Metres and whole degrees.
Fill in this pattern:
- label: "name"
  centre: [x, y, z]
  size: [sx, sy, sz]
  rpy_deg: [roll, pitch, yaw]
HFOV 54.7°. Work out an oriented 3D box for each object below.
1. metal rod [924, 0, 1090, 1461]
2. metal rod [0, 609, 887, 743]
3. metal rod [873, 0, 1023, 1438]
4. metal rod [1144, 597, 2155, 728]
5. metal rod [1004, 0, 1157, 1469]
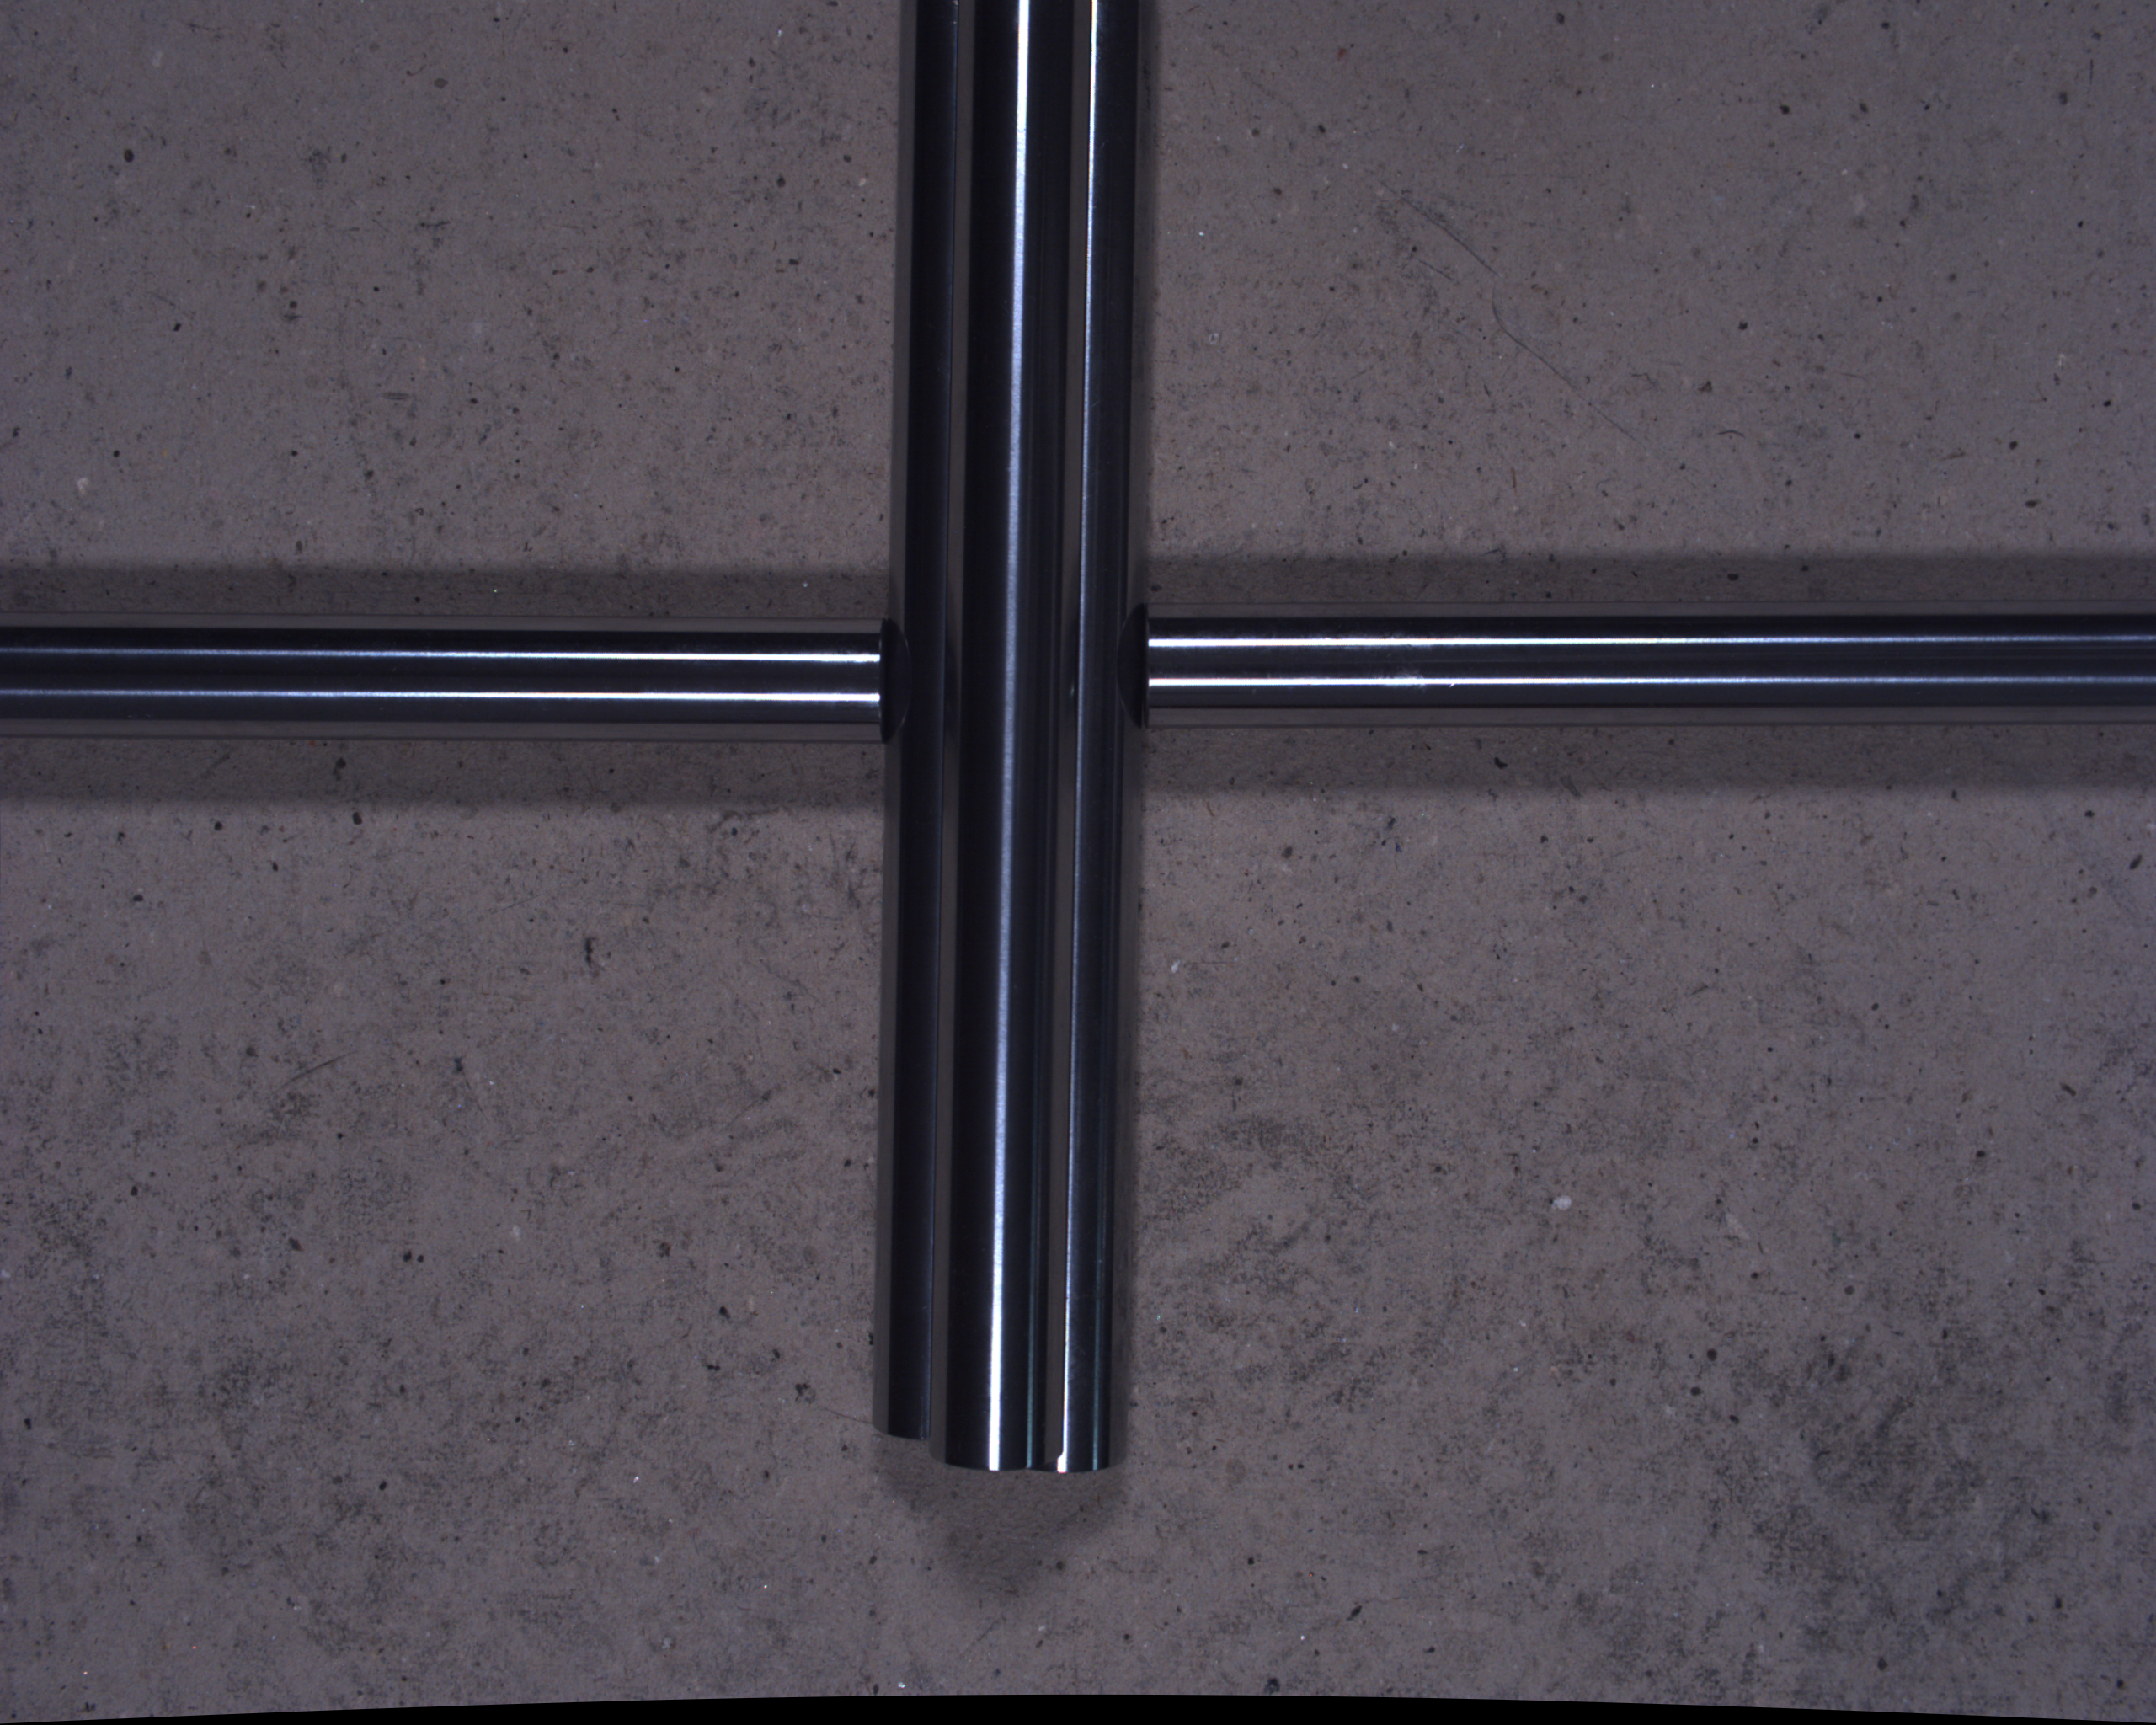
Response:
- label: "metal rod"
  centre: [-0.013, -0.040, 0.391]
  size: [0.025, 0.025, 0.298]
  rpy_deg: [1, 90, -1]
- label: "metal rod"
  centre: [-0.188, -0.037, 0.408]
  size: [0.302, 0.025, 0.025]
  rpy_deg: [0, 90, -1]
- label: "metal rod"
  centre: [-0.025, -0.039, 0.411]
  size: [0.025, 0.025, 0.298]
  rpy_deg: [1, 90, -1]
- label: "metal rod"
  centre: [0.164, -0.040, 0.413]
  size: [0.302, 0.025, 0.025]
  rpy_deg: [0, 90, -1]
- label: "metal rod"
  centre: [0.000, -0.033, 0.412]
  size: [0.025, 0.025, 0.298]
  rpy_deg: [1, 90, -1]
